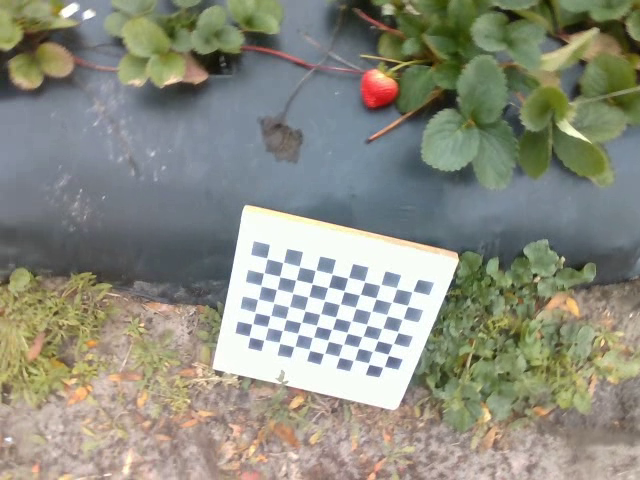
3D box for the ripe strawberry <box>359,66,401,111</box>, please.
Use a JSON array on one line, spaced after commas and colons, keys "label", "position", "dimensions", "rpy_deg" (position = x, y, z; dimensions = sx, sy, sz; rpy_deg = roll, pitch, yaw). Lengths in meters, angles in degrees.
[{"label": "ripe strawberry", "position": [0.088, -0.229, 0.860], "dimensions": [0.061, 0.065, 0.050], "rpy_deg": [21, 21, -10]}]
